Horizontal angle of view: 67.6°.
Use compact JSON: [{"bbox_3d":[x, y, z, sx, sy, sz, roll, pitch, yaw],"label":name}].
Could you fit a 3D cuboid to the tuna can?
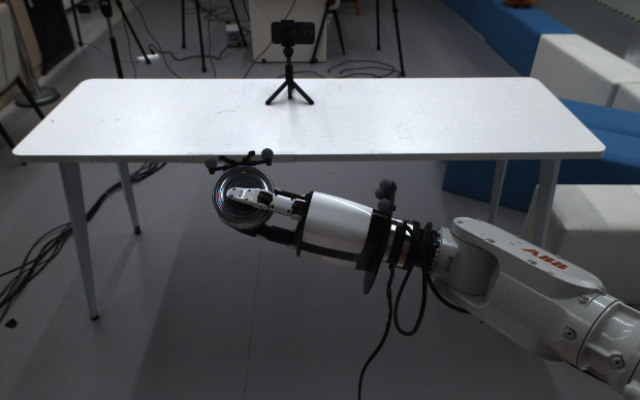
[{"bbox_3d":[-0.100,0.002,0.663,0.085,0.034,0.085,0,72,-1],"label":"tuna can"}]
